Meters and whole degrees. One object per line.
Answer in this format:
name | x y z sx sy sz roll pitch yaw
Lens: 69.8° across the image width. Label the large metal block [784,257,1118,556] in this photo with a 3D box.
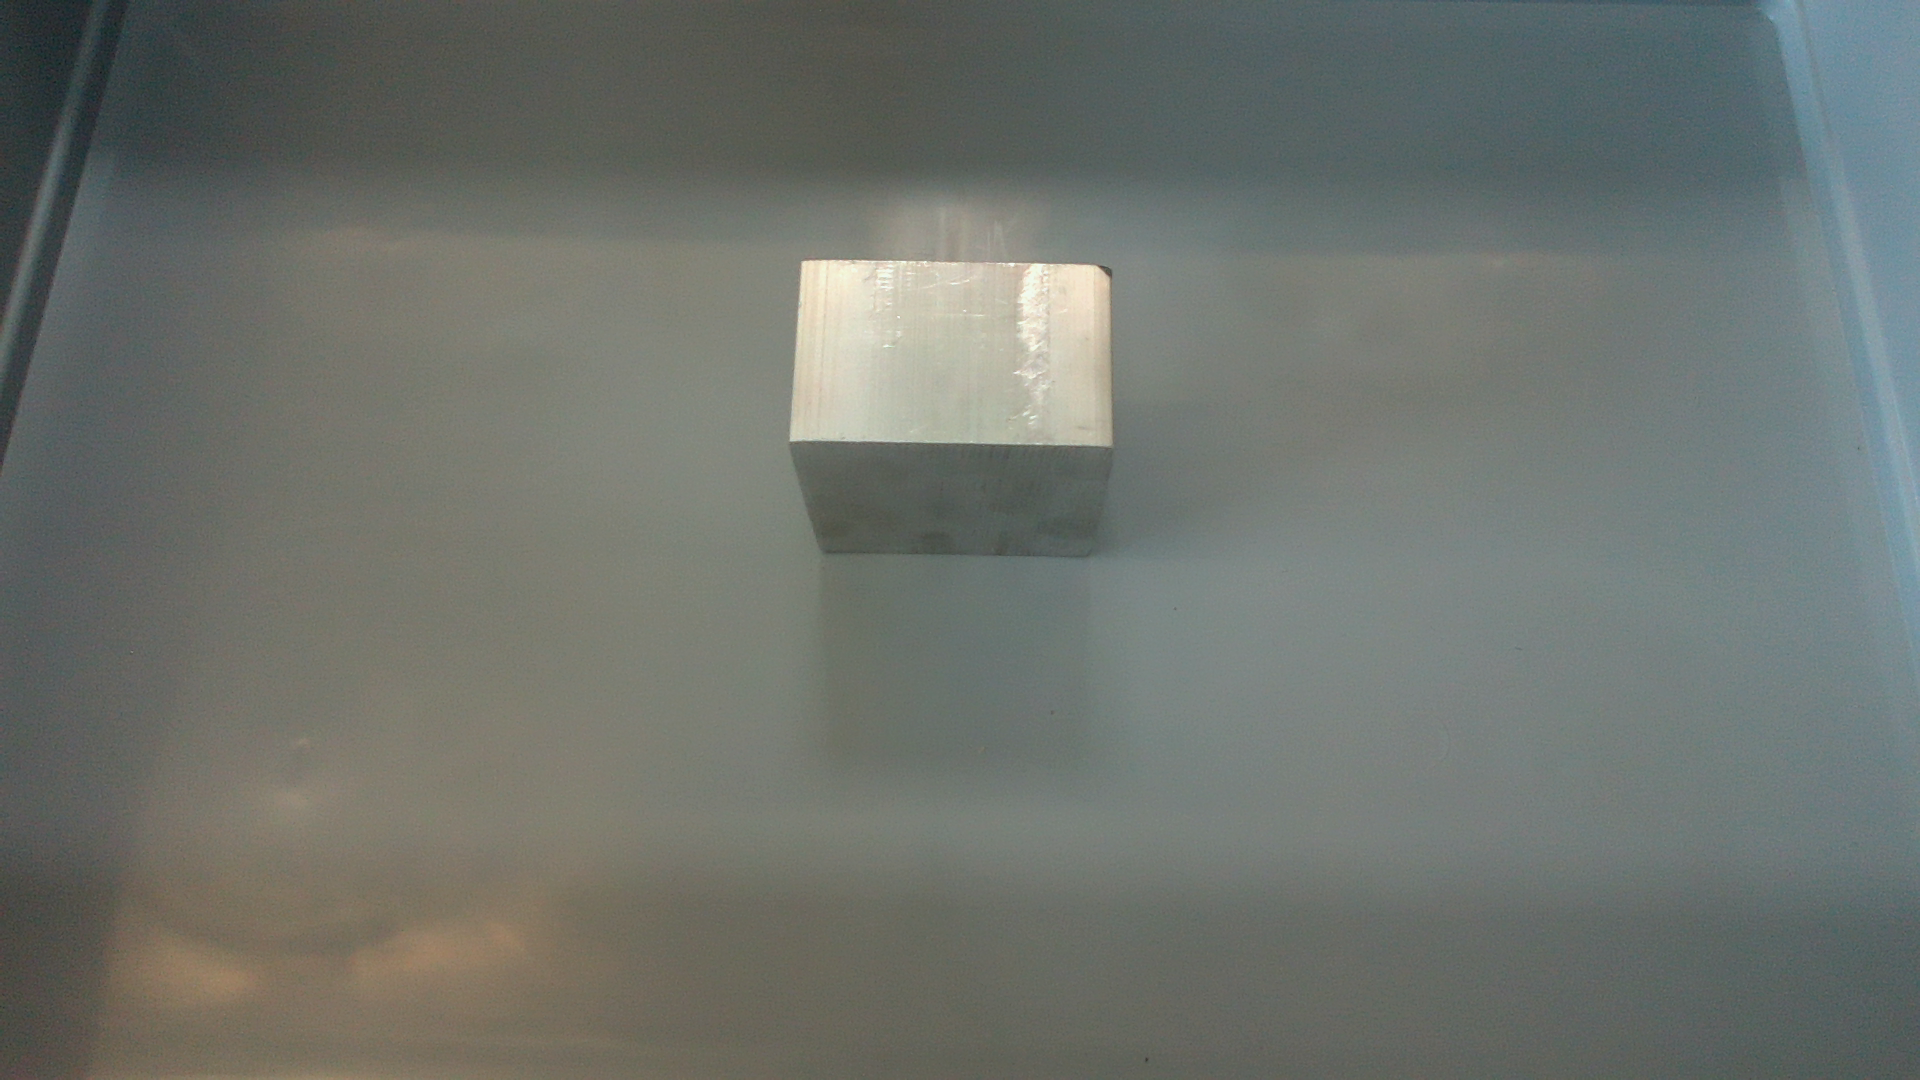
large metal block | -0.002 -0.033 0.376 0.080 0.080 0.050 1 70 0
